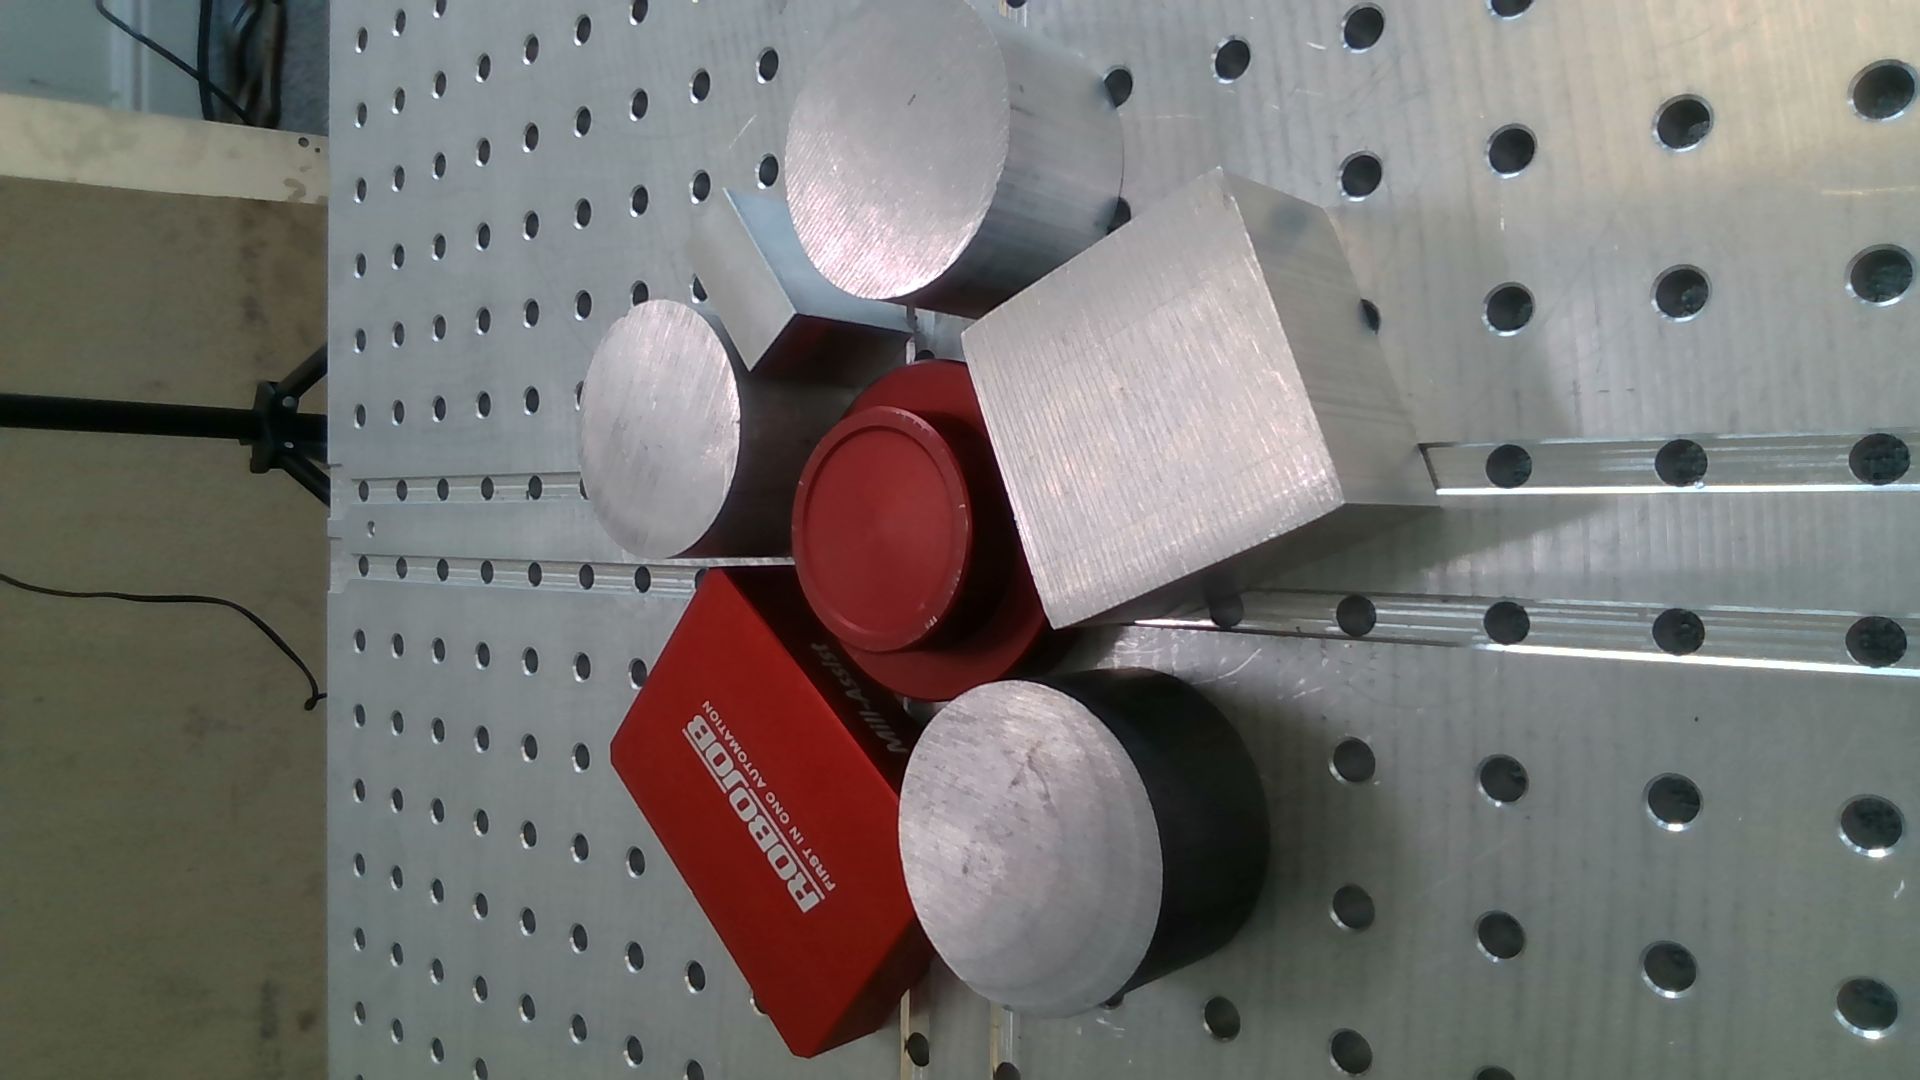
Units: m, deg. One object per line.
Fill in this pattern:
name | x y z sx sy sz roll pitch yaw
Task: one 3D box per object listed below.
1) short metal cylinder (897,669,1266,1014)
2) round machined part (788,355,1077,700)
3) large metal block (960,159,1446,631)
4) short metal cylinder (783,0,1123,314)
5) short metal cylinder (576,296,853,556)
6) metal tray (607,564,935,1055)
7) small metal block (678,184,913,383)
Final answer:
short metal cylinder | 0.030 0.074 0.352 0.080 0.050 0.080 0 91 40
round machined part | -0.011 -0.003 0.391 0.098 0.042 0.098 0 91 40
large metal block | 0.056 -0.030 0.330 0.080 0.050 0.080 -27 73 37
short metal cylinder | -0.003 -0.104 0.378 0.080 0.050 0.080 0 91 40
short metal cylinder | -0.079 -0.035 0.443 0.080 0.050 0.080 0 91 40
metal tray | -0.054 0.081 0.436 0.130 0.030 0.090 48 118 29
small metal block | -0.050 -0.076 0.418 0.025 0.050 0.050 -45 63 31
